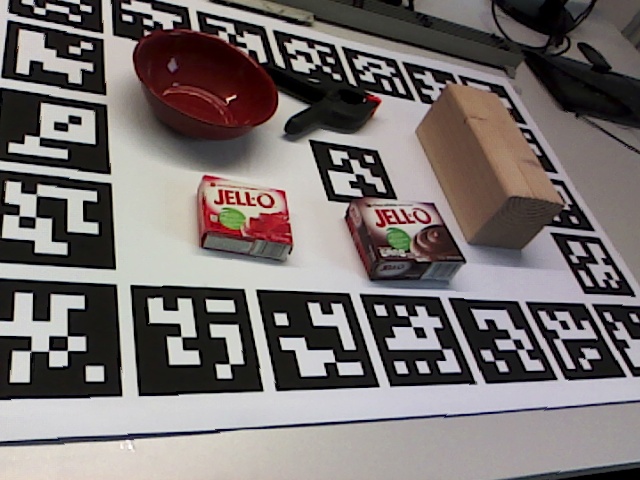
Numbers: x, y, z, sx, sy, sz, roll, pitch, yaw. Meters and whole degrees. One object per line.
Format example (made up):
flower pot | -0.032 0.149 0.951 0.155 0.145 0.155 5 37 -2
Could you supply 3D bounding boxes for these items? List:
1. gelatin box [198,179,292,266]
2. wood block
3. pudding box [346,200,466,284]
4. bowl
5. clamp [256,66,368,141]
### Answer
gelatin box | -0.075 -0.018 0.611 0.089 0.030 0.073 11 49 -22
wood block | 0.217 -0.095 0.807 0.089 0.091 0.207 7 49 -26
pudding box | 0.093 0.003 0.687 0.113 0.039 0.090 2 55 -26
bowl | -0.135 -0.158 0.695 0.161 0.055 0.162 16 48 -19
clamp | -0.007 -0.174 0.799 0.164 0.036 0.122 -4 54 -35
